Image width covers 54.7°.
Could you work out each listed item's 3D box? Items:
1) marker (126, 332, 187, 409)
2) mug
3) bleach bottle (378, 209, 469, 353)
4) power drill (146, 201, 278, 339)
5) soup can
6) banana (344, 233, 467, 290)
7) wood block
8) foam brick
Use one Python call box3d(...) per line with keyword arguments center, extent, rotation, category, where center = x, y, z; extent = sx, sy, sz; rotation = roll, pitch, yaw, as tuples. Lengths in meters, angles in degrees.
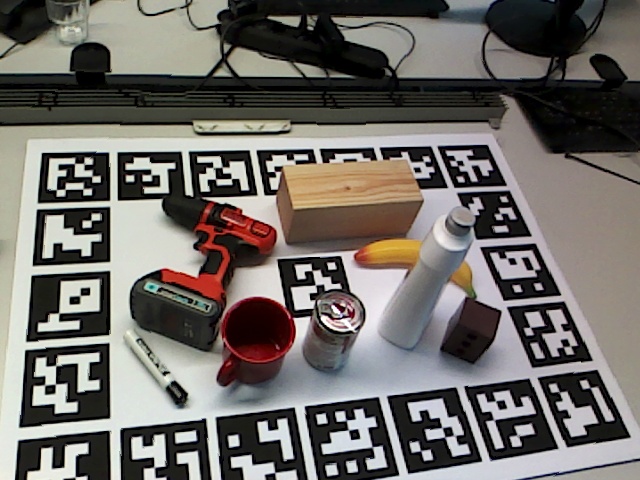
box3d(center=(-0.209, 0.167, 0.793), extent=(0.019, 0.019, 0.121), rotation=(-32, 65, -28), category="marker")
box3d(center=(-0.092, 0.138, 0.797), extent=(0.093, 0.081, 0.117), rotation=(32, 56, 11), category="mug")
box3d(center=(0.140, 0.047, 0.811), extent=(0.068, 0.250, 0.102), rotation=(20, 50, 4), category="bleach bottle")
box3d(center=(-0.170, 0.035, 0.885), extent=(0.184, 0.057, 0.187), rotation=(22, 50, 1), category="power drill")
box3d(center=(0.014, 0.119, 0.815), extent=(0.068, 0.102, 0.068), rotation=(7, 47, -8), category="soup can")
box3d(center=(0.136, 0.025, 0.960), extent=(0.197, 0.039, 0.074), rotation=(11, 65, -6), category="banana")
box3d(center=(0.044, -0.054, 0.975), extent=(0.205, 0.091, 0.090), rotation=(-4, 55, -15), category="wood block")
box3d(center=(0.210, 0.132, 0.872), extent=(0.053, 0.078, 0.051), rotation=(23, 49, 8), category="foam brick")
